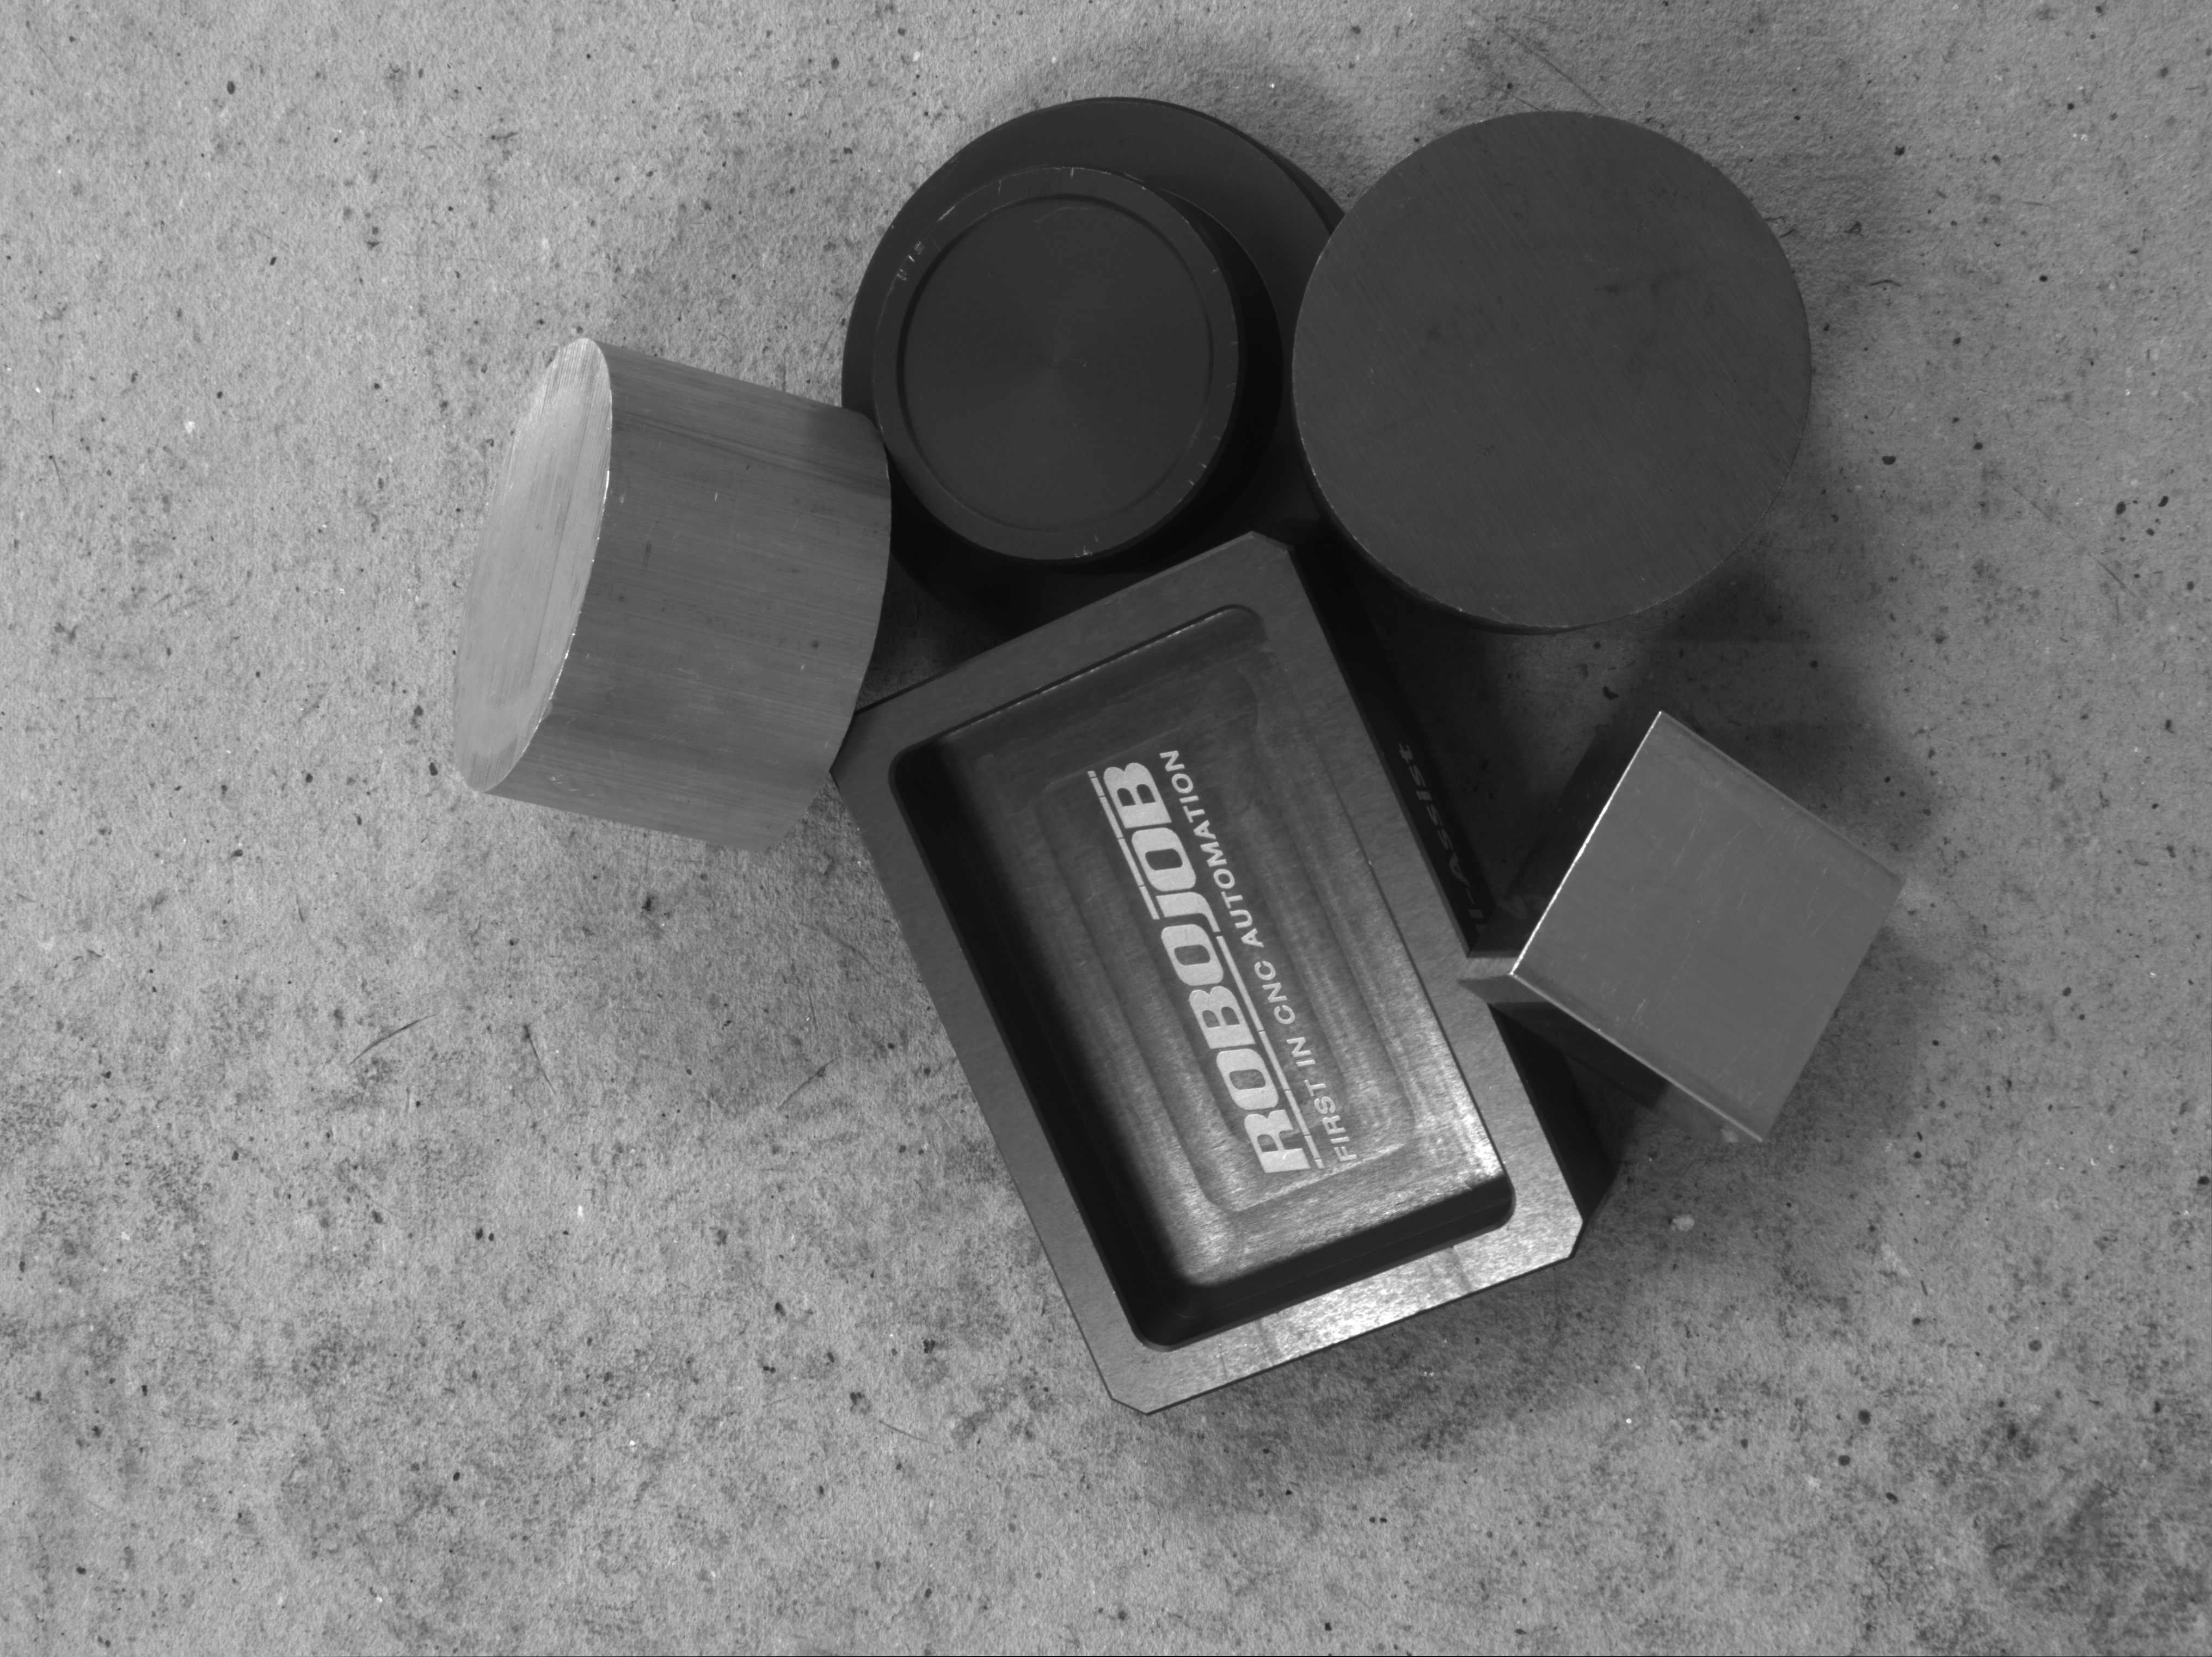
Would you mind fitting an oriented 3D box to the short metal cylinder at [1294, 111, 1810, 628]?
[{"bbox_3d":[0.071,-0.072,0.597,0.080,0.050,0.080,0,92,2],"label":"short metal cylinder"}]

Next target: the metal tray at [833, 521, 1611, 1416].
[{"bbox_3d":[0.019,0.024,0.625,0.090,0.030,0.130,-23,92,18],"label":"metal tray"}]

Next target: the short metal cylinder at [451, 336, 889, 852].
[{"bbox_3d":[-0.077,-0.040,0.639,0.050,0.080,0.080,13,96,-24],"label":"short metal cylinder"}]

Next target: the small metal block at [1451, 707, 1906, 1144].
[{"bbox_3d":[0.093,0.016,0.595,0.050,0.025,0.050,34,77,-10],"label":"small metal block"}]

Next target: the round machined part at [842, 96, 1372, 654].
[{"bbox_3d":[-0.002,-0.079,0.639,0.098,0.042,0.098,0,90,20],"label":"round machined part"}]
